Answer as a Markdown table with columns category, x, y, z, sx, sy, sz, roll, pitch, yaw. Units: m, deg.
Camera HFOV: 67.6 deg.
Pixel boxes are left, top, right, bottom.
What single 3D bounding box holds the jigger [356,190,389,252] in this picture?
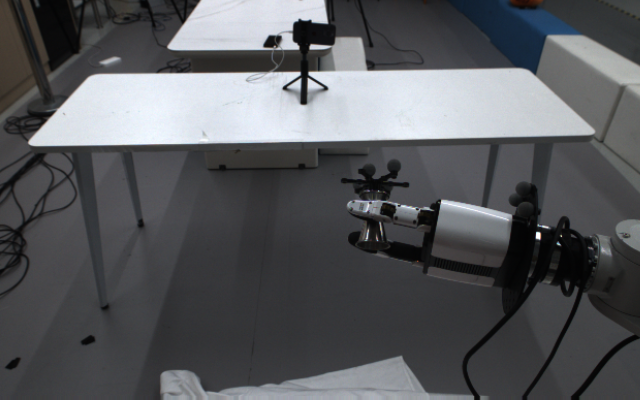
| category | x | y | z | sx | sy | sz | roll | pitch | yaw |
| --- | --- | --- | --- | --- | --- | --- | --- | --- | --- |
| jigger | 0.067 | 0.025 | 0.621 | 0.043 | 0.043 | 0.071 | 4 | 71 | 3 |
